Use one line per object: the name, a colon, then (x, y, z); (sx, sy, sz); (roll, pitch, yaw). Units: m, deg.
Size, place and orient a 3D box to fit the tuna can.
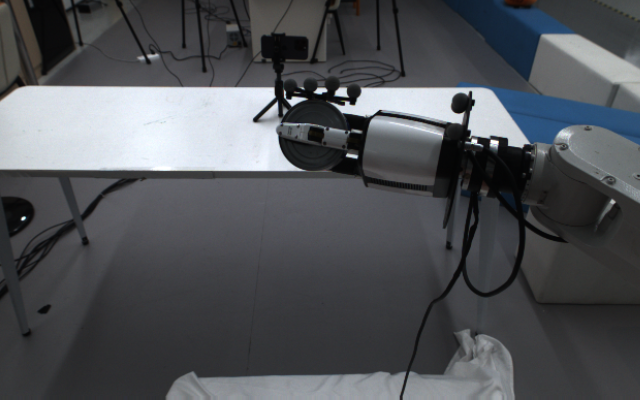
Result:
tuna can: (-0.004, -0.079, 0.590); (0.085, 0.085, 0.034); (11, 2, 13)
